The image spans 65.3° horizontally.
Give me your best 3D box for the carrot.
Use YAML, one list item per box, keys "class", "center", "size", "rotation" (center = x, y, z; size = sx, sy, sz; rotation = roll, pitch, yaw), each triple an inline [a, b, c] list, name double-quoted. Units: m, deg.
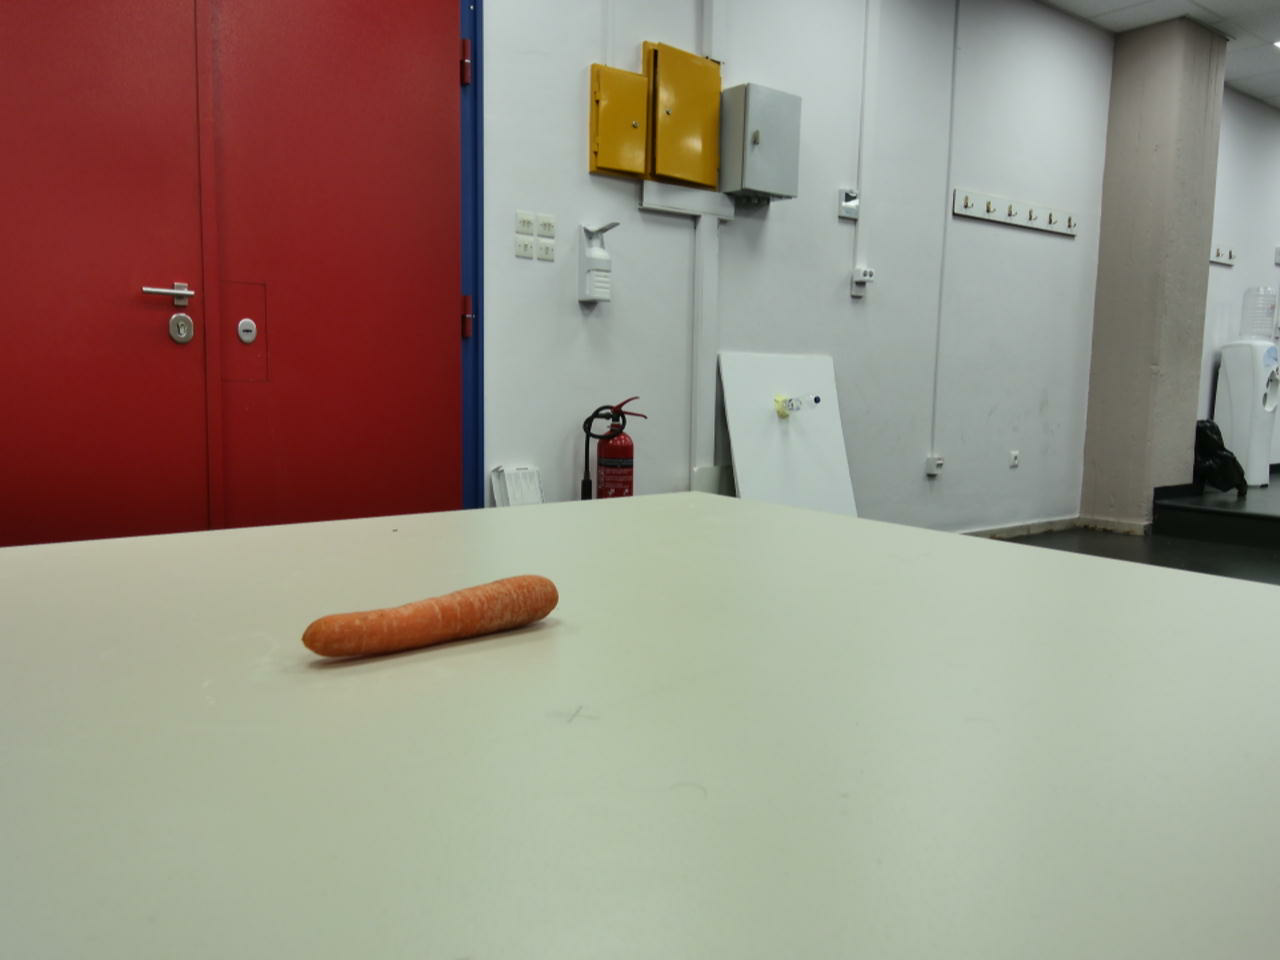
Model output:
- class: "carrot"
  center: [-0.087, 0.059, 0.437]
  size: [0.122, 0.023, 0.024]
  rotation: [-4, 6, -41]
